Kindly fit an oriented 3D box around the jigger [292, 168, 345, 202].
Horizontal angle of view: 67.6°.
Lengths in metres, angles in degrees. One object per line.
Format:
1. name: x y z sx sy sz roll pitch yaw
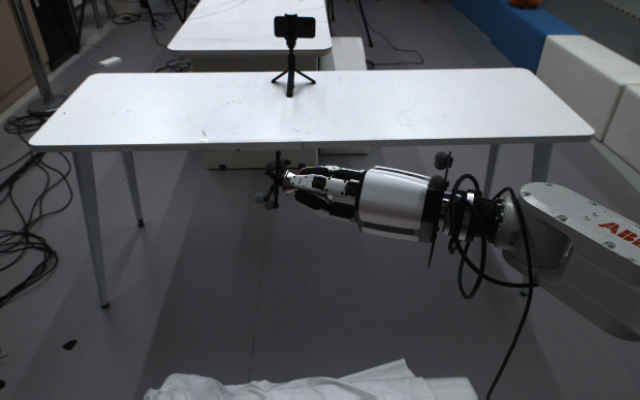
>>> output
1. jigger: -0.009 -0.025 0.697 0.071 0.043 0.043 10 35 16
